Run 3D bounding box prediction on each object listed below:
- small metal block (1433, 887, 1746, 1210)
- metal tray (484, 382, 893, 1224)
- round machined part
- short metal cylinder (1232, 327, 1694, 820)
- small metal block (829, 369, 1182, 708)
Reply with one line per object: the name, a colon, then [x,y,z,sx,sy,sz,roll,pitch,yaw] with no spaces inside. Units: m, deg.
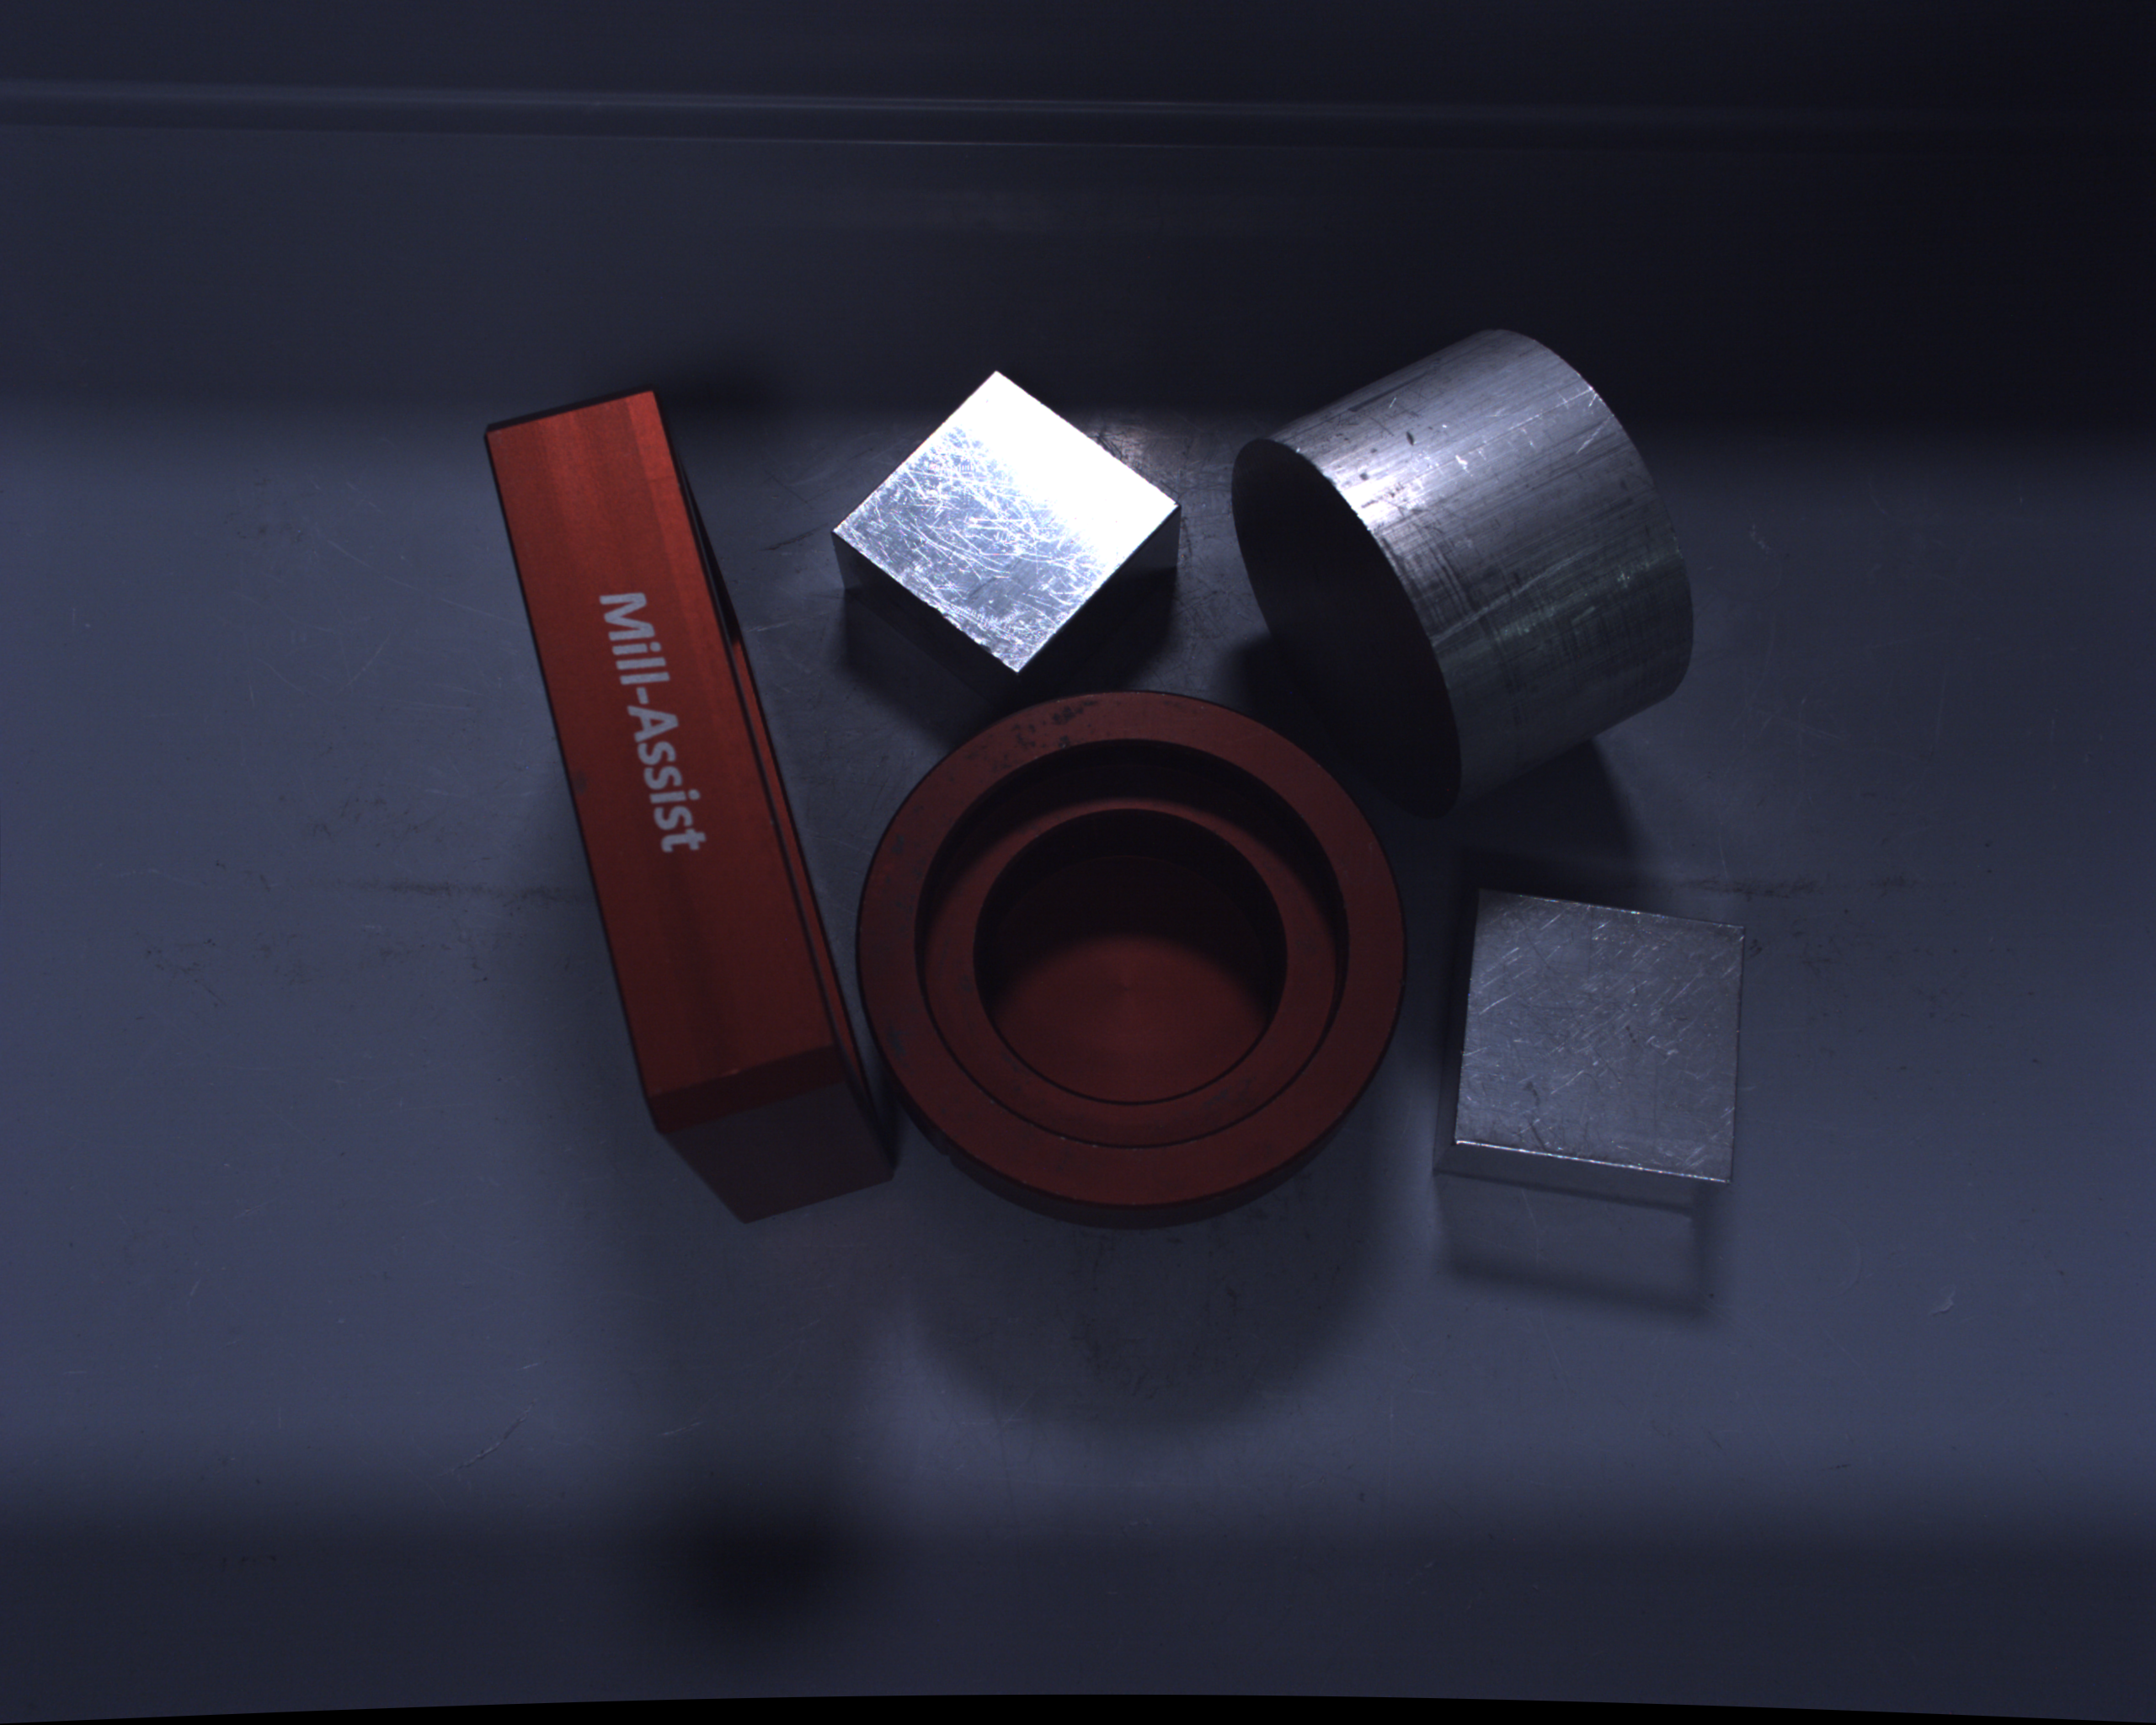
small metal block: [0.097,0.036,0.396,0.050,0.025,0.050,8,70,4]
metal tray: [-0.068,-0.008,0.375,0.030,0.090,0.130,-16,71,-6]
round machined part: [0.009,0.020,0.390,0.099,0.042,0.098,0,70,-1]
short metal cylinder: [0.072,-0.055,0.400,0.050,0.080,0.080,-28,73,-10]
small metal block: [-0.014,-0.065,0.431,0.050,0.025,0.050,38,75,14]
